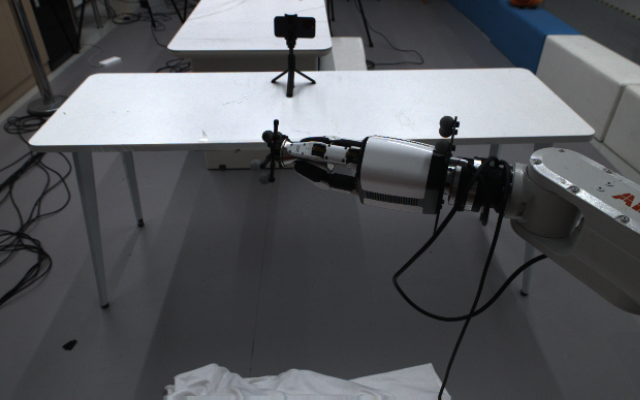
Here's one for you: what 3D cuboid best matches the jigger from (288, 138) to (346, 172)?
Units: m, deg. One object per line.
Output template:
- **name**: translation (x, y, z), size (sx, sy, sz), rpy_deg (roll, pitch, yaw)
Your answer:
- **jigger**: translation (-0.010, -0.066, 0.665), size (0.071, 0.043, 0.043), rpy_deg (8, 35, 16)
